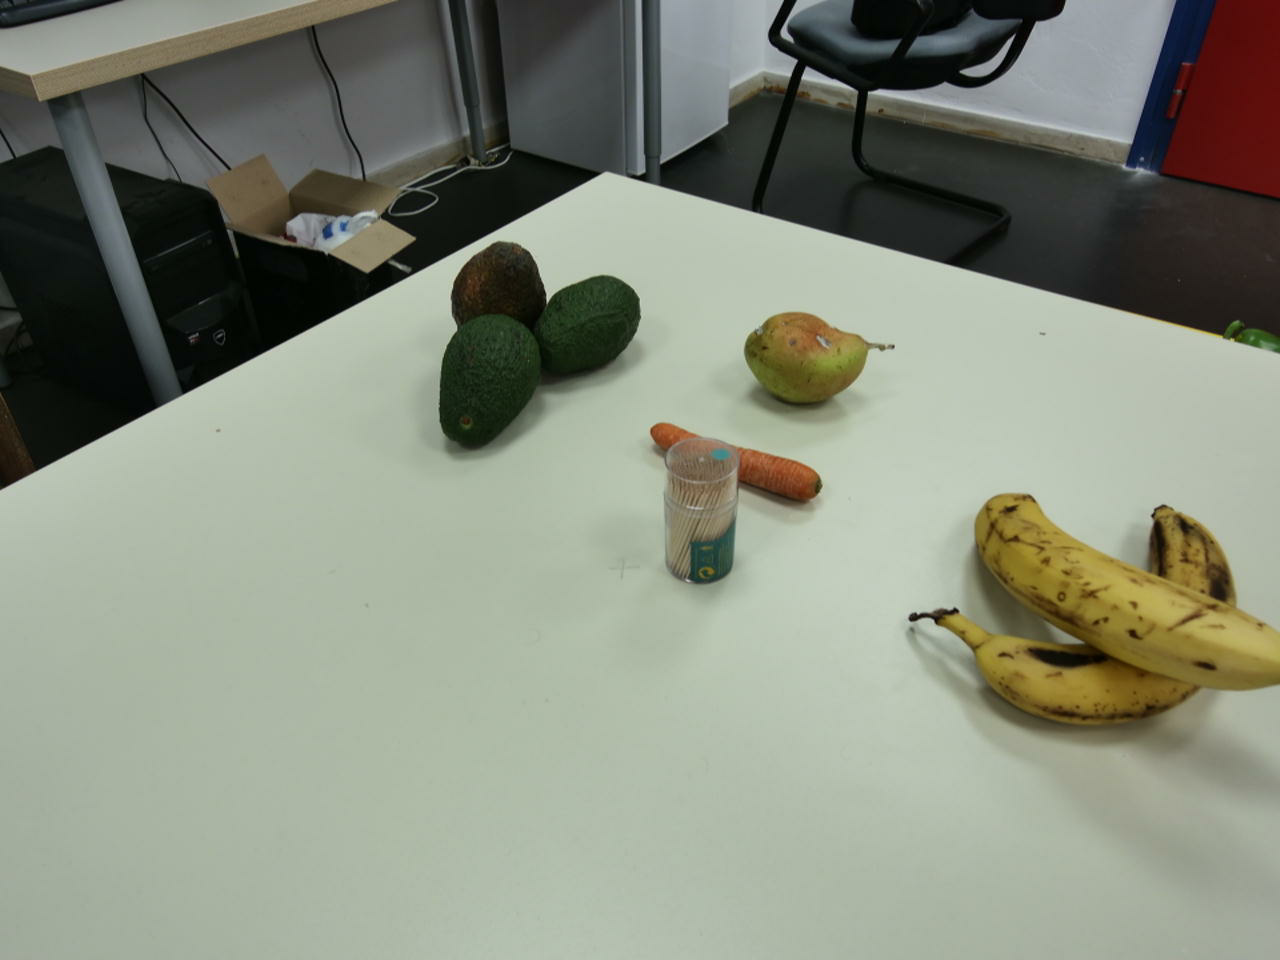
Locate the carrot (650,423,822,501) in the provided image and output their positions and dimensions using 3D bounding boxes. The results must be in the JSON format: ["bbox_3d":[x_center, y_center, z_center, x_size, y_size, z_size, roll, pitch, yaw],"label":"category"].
[{"bbox_3d":[0.058,-0.014,0.636,0.122,0.023,0.024,22,43,26],"label":"carrot"}]
